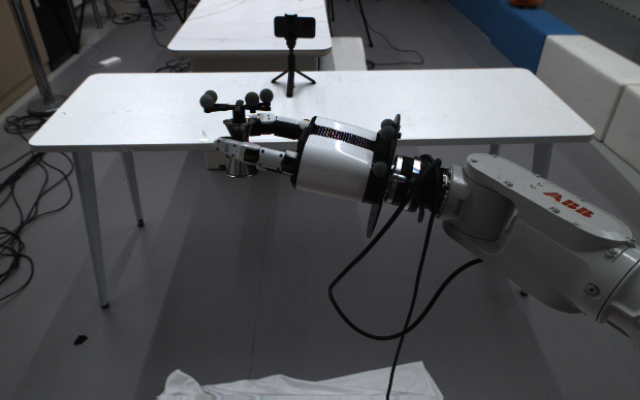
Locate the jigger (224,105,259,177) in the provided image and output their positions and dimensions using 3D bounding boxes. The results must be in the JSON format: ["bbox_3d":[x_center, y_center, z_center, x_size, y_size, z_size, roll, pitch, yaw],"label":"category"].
[{"bbox_3d":[-0.101,-0.066,0.614,0.043,0.071,0.043,0,21,0],"label":"jigger"}]
